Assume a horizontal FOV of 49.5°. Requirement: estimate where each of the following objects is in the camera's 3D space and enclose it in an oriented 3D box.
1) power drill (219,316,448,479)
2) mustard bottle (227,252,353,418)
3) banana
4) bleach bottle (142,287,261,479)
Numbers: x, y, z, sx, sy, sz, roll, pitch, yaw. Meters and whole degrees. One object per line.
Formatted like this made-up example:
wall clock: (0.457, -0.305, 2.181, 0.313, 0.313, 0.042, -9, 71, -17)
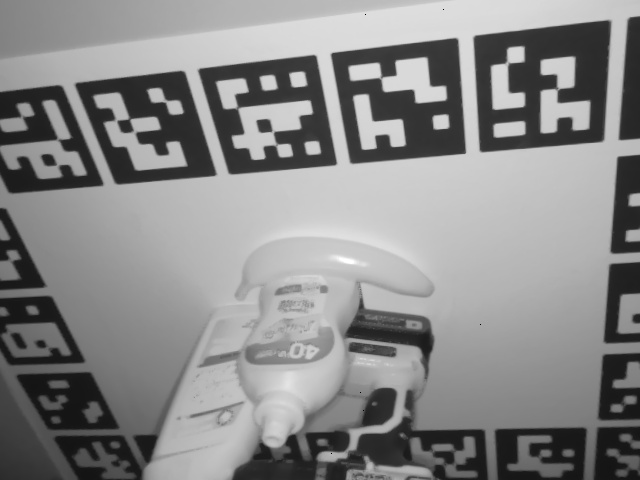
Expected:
power drill: (0.021, 0.147, 0.614, 0.184, 0.189, 0.057, 6, 123, 7)
mustard bottle: (-0.029, 0.079, 0.605, 0.096, 0.193, 0.058, -5, 120, 13)
banana: (-0.002, 0.008, 0.660, 0.197, 0.039, 0.074, -2, 119, 7)
bleach bottle: (-0.089, 0.147, 0.626, 0.102, 0.253, 0.067, -3, 126, 11)
